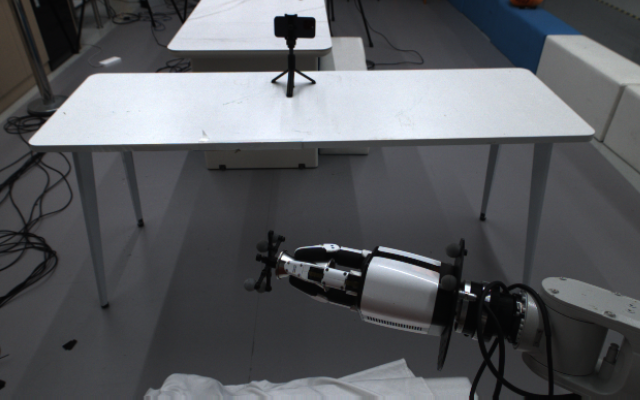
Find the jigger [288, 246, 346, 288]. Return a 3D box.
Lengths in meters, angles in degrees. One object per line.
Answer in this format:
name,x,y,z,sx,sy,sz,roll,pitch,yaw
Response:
jigger,-0.013,0.087,0.627,0.071,0.043,0.043,10,35,16
